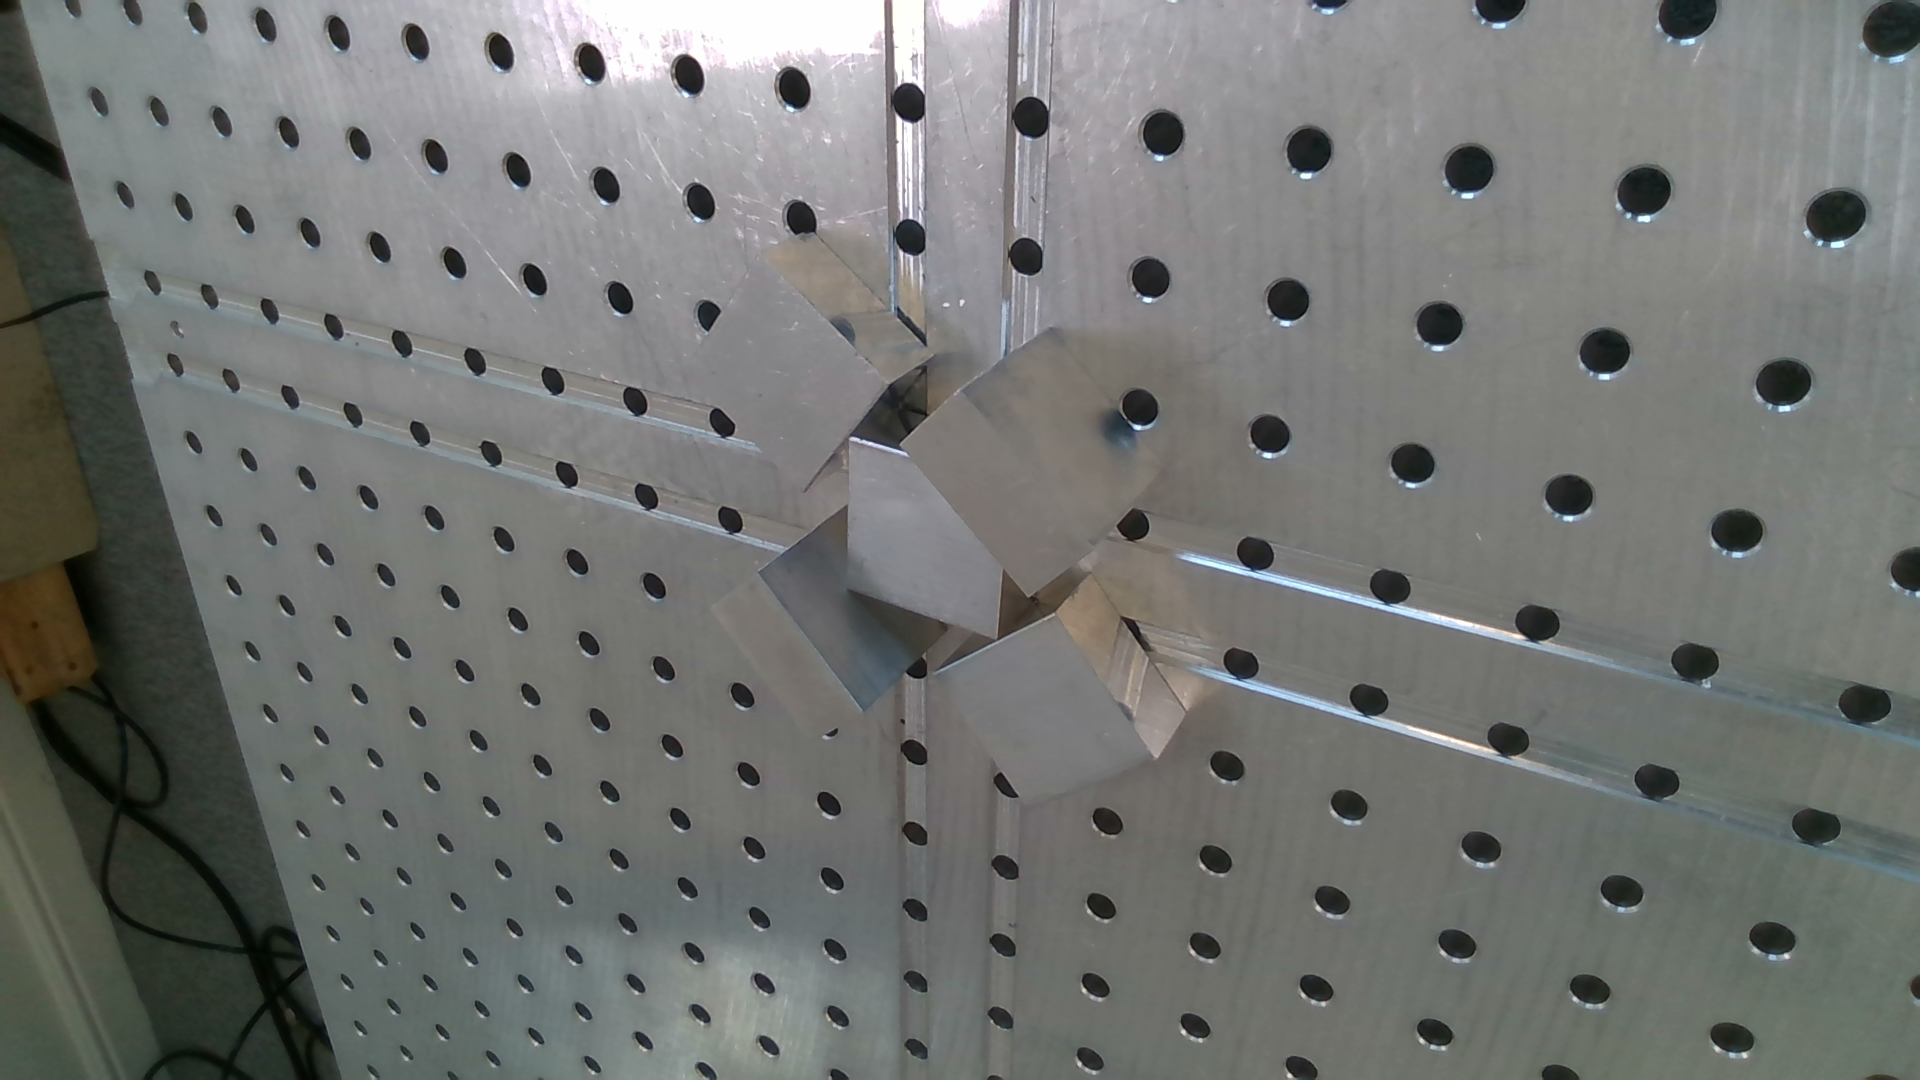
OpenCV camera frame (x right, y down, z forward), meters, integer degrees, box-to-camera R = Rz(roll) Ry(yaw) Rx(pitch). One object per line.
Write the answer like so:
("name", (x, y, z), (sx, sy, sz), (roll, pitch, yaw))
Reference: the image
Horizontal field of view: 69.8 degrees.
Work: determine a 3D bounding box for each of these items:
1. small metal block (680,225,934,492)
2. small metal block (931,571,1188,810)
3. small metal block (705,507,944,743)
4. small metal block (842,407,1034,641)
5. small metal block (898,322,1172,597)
("small metal block", (-0.044, -0.051, 0.390), (0.050, 0.025, 0.050), (45, 130, 2))
("small metal block", (0.029, 0.044, 0.398), (0.050, 0.025, 0.050), (-30, 97, 39))
("small metal block", (-0.039, 0.023, 0.412), (0.025, 0.050, 0.050), (-33, 95, 39))
("small metal block", (-0.005, -0.005, 0.391), (0.050, 0.025, 0.050), (17, 122, 22))
("small metal block", (0.020, -0.022, 0.350), (0.050, 0.050, 0.025), (51, 130, -1))
